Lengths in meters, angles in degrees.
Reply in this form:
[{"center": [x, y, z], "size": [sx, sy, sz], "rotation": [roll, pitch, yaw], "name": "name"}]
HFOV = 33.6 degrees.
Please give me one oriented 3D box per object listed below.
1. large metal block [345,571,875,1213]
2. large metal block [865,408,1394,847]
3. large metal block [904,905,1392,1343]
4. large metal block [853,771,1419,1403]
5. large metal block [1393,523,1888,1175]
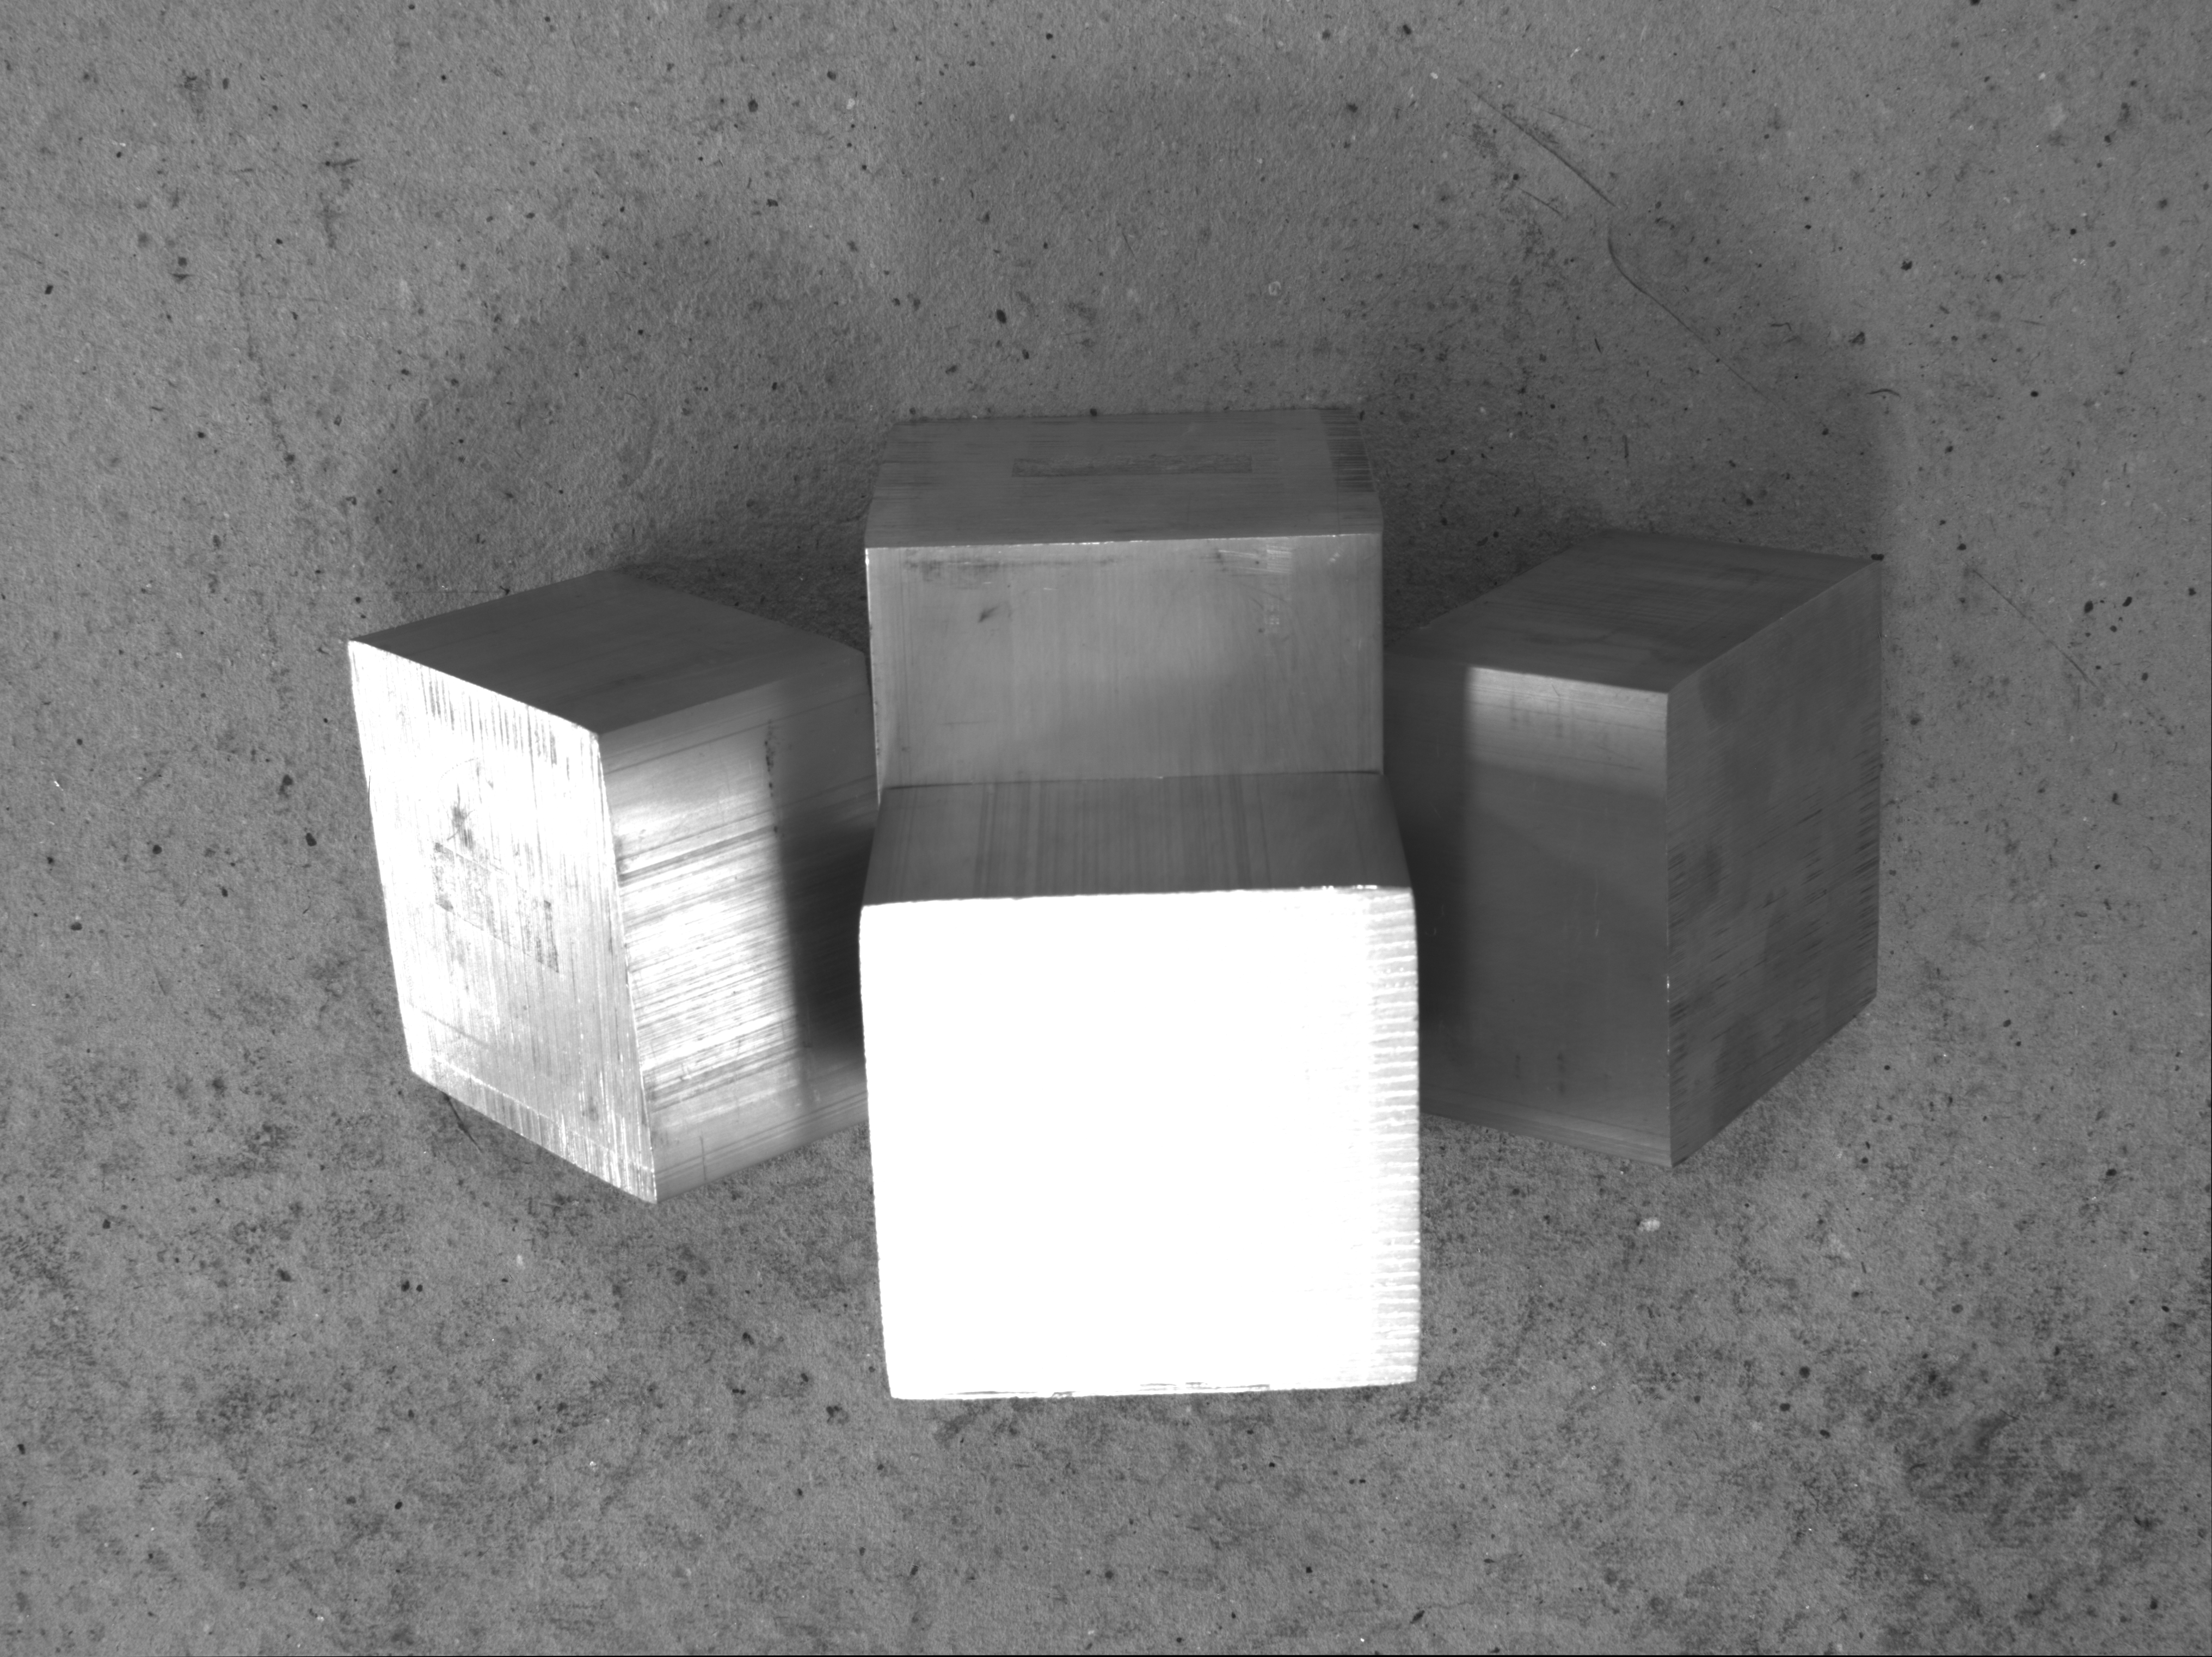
[{"center": [-0.080, 0.008, 0.610], "size": [0.050, 0.080, 0.080], "rotation": [-19, 114, -36], "name": "large metal block"}, {"center": [0.004, -0.034, 0.602], "size": [0.080, 0.080, 0.050], "rotation": [-2, 110, 0], "name": "large metal block"}, {"center": [0.008, 0.052, 0.635], "size": [0.080, 0.080, 0.050], "rotation": [-3, 110, 2], "name": "large metal block"}, {"center": [0.006, 0.039, 0.559], "size": [0.080, 0.050, 0.080], "rotation": [-2, 110, 1], "name": "large metal block"}, {"center": [0.089, 0.001, 0.607], "size": [0.050, 0.080, 0.080], "rotation": [10, 114, 33], "name": "large metal block"}]
